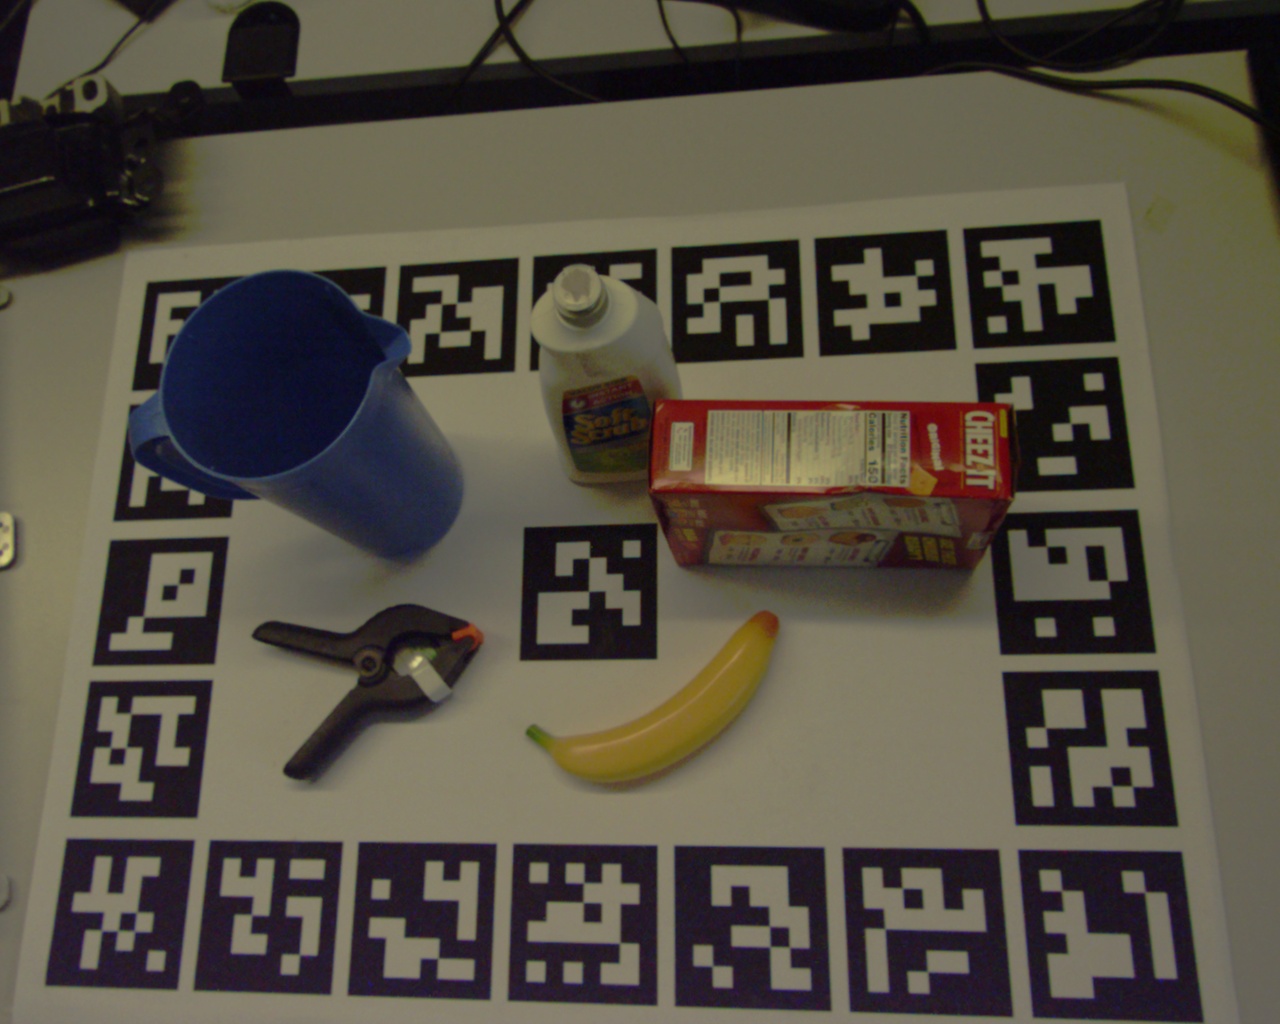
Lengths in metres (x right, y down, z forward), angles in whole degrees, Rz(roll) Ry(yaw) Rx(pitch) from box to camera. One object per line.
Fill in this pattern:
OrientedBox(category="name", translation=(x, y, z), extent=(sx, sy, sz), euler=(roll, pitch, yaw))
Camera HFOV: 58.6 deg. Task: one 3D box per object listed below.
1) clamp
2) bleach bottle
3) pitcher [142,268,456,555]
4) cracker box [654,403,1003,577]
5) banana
OrientedBox(category="clamp", translation=(-0.194, 0.114, 0.872), extent=(0.165, 0.036, 0.122), euler=(-17, 68, 1))
OrientedBox(category="bleach bottle", translation=(-0.030, -0.087, 0.802), extent=(0.103, 0.249, 0.068), euler=(-2, 71, 8))
OrientedBox(category="pitcher", translation=(-0.219, -0.049, 0.800), extent=(0.189, 0.241, 0.134), euler=(-19, 70, -1))
OrientedBox(category="cracker box", translation=(0.126, -0.012, 0.781), extent=(0.215, 0.163, 0.072), euler=(0, 69, 10))
OrientedBox(category="banana", translation=(0.025, 0.133, 0.839), extent=(0.197, 0.038, 0.075), euler=(-34, 70, -3))
